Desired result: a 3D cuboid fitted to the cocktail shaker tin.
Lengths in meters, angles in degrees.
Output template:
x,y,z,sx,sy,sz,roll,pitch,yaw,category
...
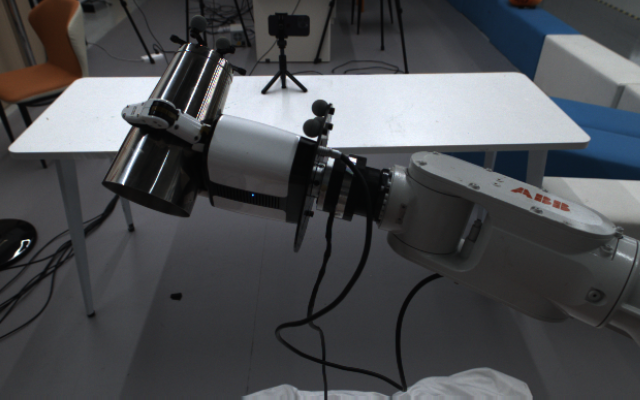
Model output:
x,y,z,sx,sy,sz,roll,pitch,yaw,category
-0.151,-0.075,0.517,0.093,0.093,0.170,13,73,16,cocktail shaker tin
